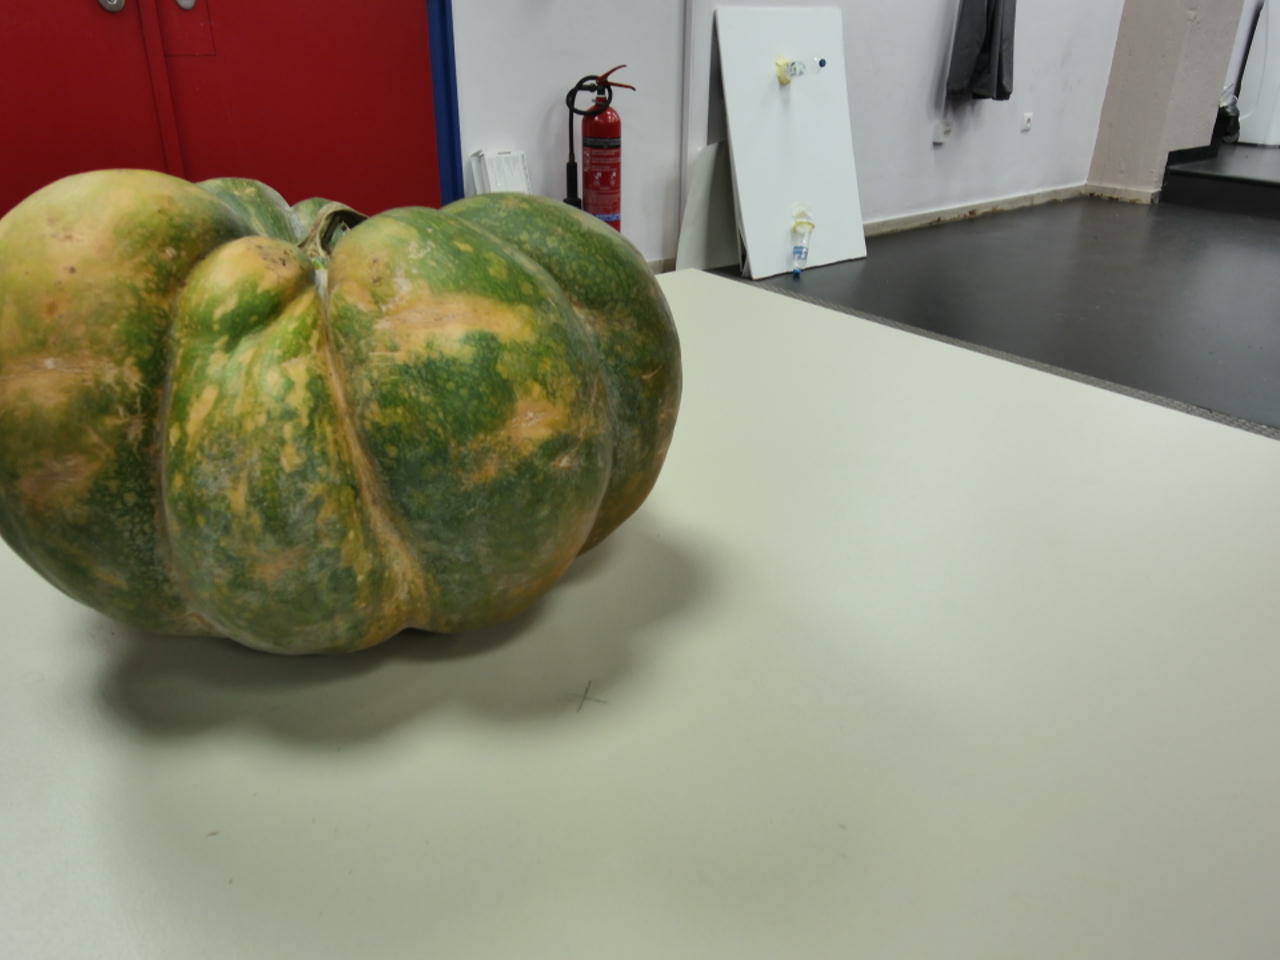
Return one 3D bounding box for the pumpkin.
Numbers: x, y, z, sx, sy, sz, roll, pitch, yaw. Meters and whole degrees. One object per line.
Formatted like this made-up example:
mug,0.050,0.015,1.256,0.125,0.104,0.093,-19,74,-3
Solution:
pumpkin,-0.121,-0.038,0.390,0.270,0.173,0.237,-1,24,-2
